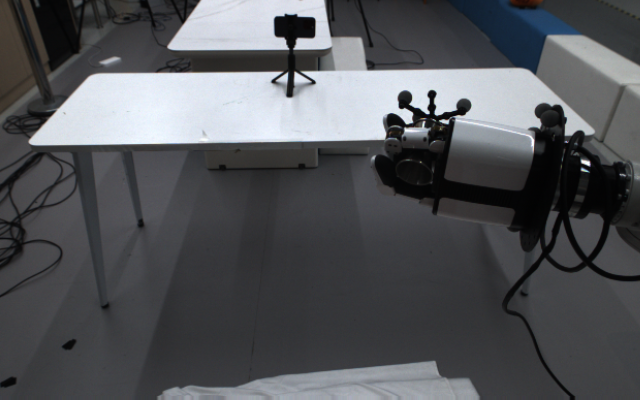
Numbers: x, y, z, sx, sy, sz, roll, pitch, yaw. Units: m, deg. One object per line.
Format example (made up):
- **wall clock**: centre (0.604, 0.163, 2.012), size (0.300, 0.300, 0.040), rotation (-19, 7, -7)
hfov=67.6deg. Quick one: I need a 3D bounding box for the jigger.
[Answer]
- **jigger**: centre (0.120, -0.057, 0.557), size (0.043, 0.043, 0.071), rotation (13, 58, 15)
